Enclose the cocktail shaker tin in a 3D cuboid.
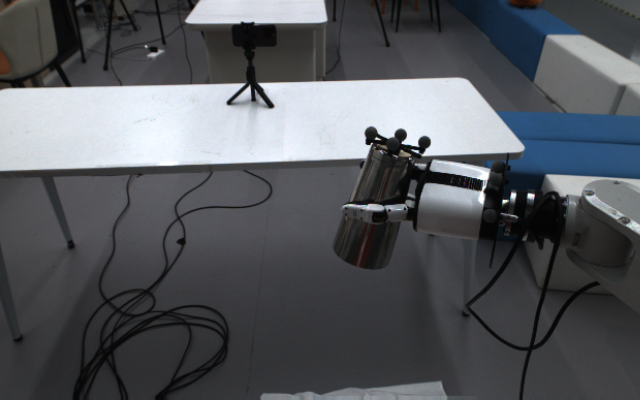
[{"bbox_3d":[0.085,0.003,0.710,0.093,0.170,0.093,12,24,-5],"label":"cocktail shaker tin"}]
